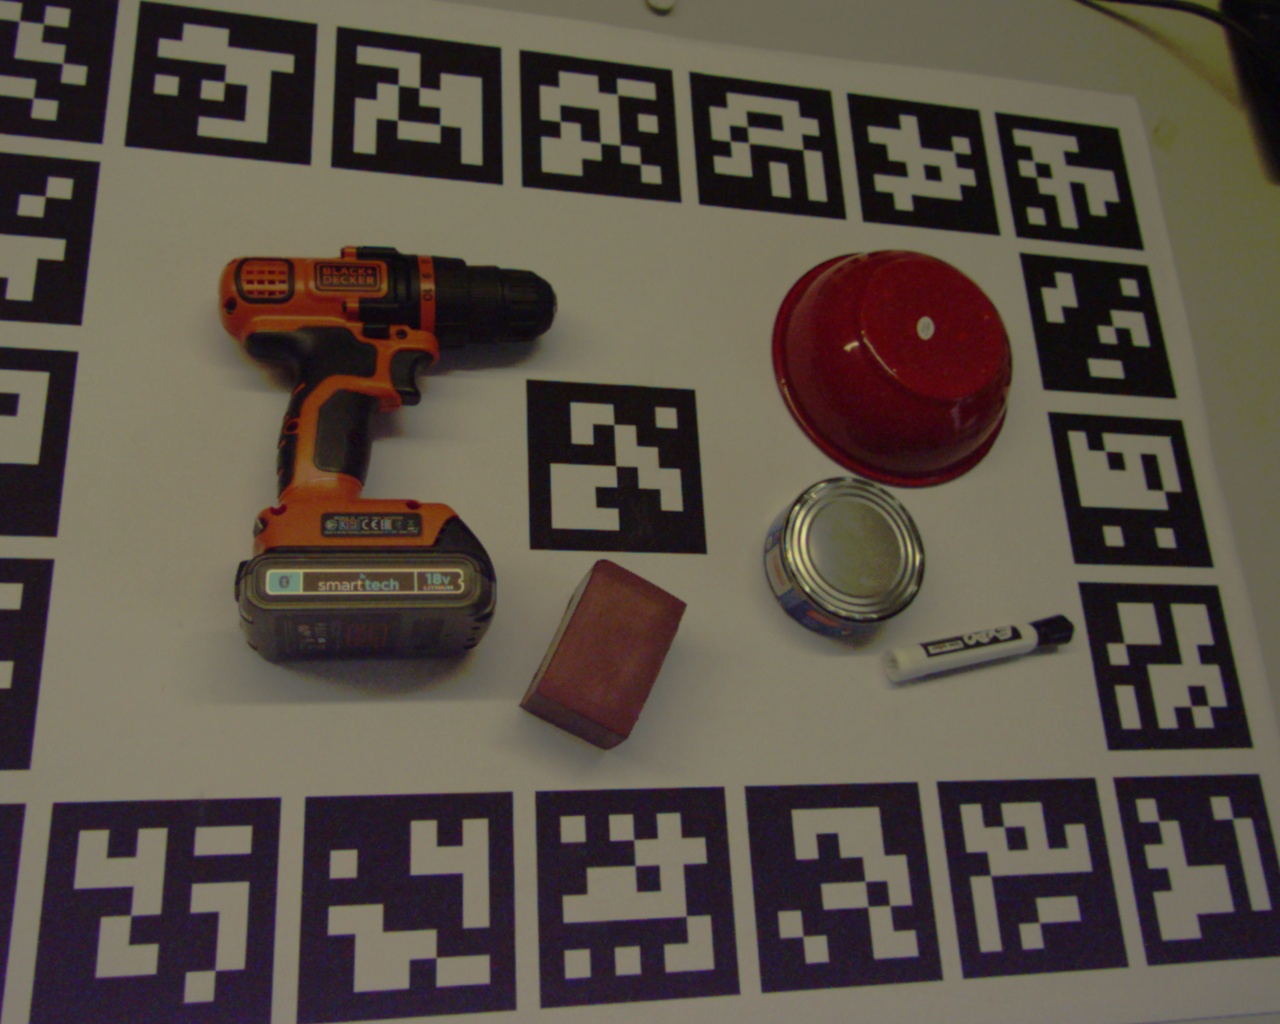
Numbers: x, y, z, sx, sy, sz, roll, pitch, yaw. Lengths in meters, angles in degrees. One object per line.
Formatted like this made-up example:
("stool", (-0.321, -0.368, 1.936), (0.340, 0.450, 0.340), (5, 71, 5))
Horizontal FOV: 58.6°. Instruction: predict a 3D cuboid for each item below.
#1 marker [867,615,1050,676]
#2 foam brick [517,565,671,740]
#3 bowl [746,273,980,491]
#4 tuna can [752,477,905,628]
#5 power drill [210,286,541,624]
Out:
("marker", (0.194, 0.080, 0.685), (0.120, 0.020, 0.020), (-8, 76, -17))
("foam brick", (-0.025, 0.078, 0.620), (0.051, 0.053, 0.078), (26, 68, -7))
("bowl", (0.152, -0.097, 0.727), (0.161, 0.055, 0.162), (4, 64, -10))
("tuna can", (0.111, 0.025, 0.675), (0.085, 0.034, 0.086), (5, 71, -16))
("power drill", (-0.140, -0.035, 0.622), (0.183, 0.058, 0.187), (2, 69, -18))
